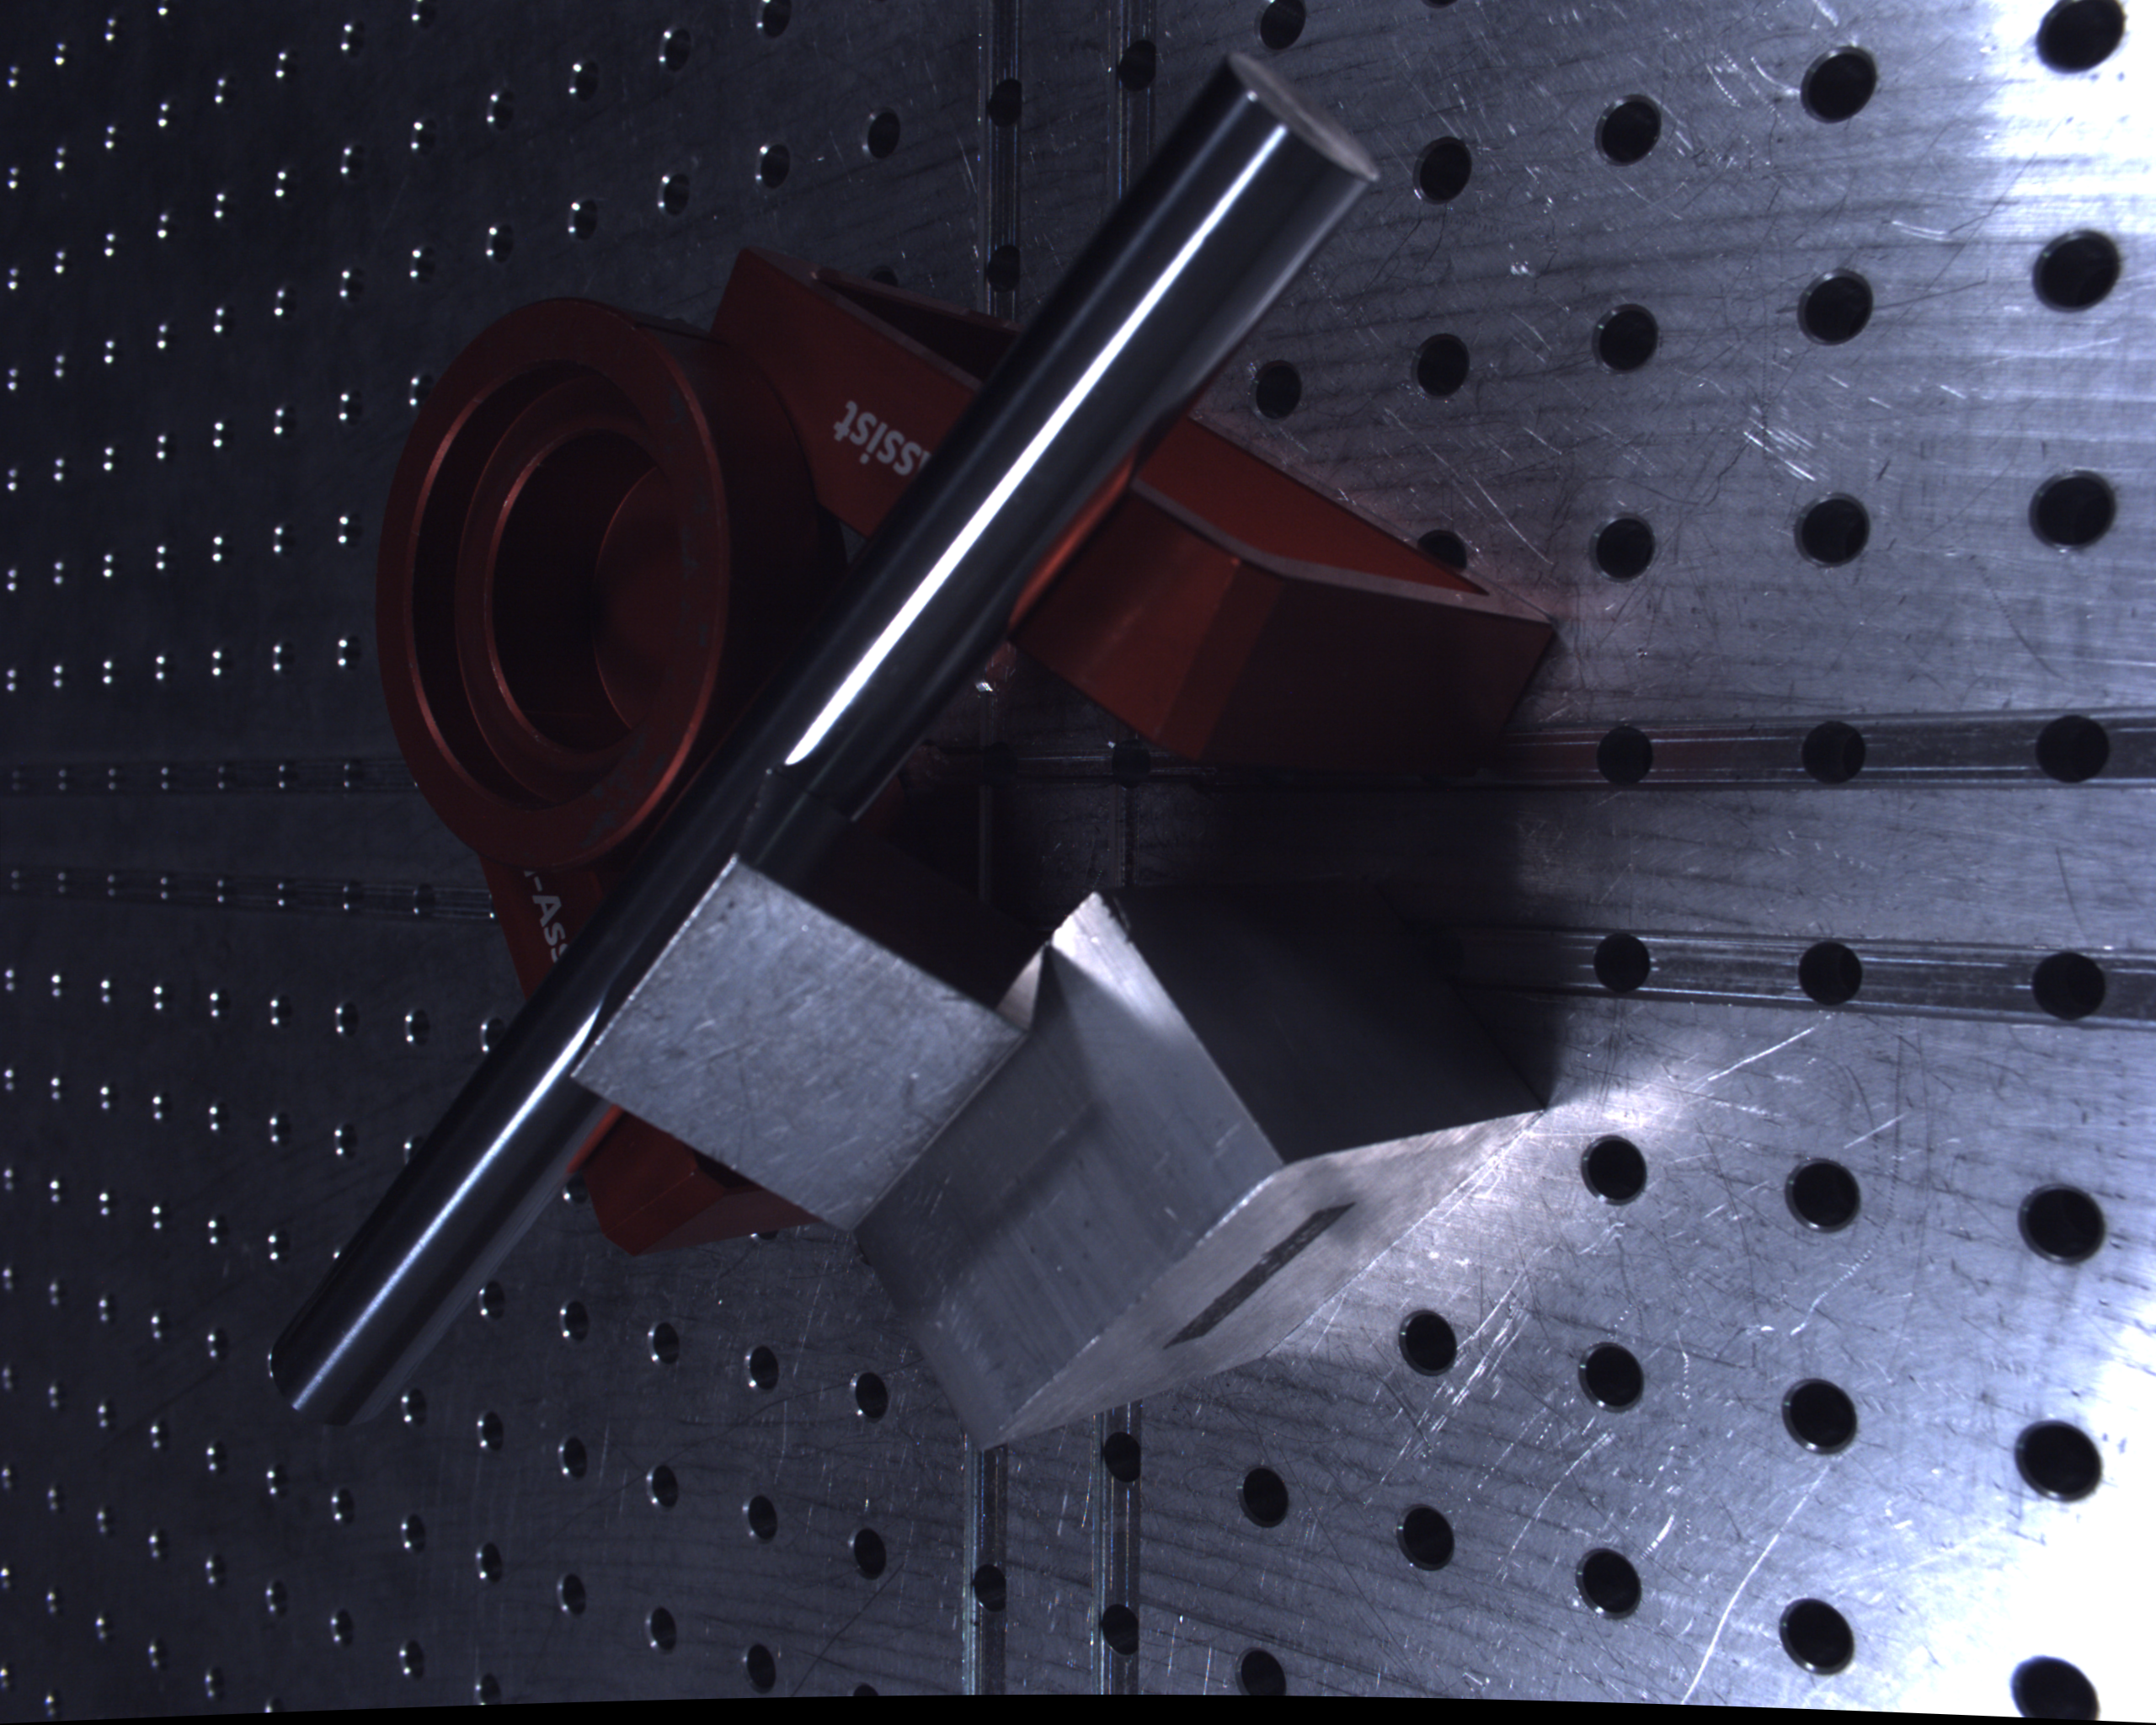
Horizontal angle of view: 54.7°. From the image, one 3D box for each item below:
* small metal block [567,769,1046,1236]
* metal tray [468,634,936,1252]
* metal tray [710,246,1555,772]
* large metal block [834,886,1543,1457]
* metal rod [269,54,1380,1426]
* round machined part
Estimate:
[{"bbox_3d":[-0.041,0.022,0.318,0.050,0.050,0.025,-50,16,28],"label":"small metal block"},{"bbox_3d":[-0.070,0.007,0.422,0.030,0.091,0.130,-36,68,34],"label":"metal tray"},{"bbox_3d":[0.006,-0.061,0.359,0.130,0.091,0.030,38,114,33],"label":"metal tray"},{"bbox_3d":[0.017,0.049,0.353,0.080,0.081,0.050,-49,62,29],"label":"large metal block"},{"bbox_3d":[-0.059,0.002,0.338,0.299,0.025,0.025,-48,62,29],"label":"metal rod"},{"bbox_3d":[-0.079,-0.048,0.371,0.098,0.042,0.097,0,90,39],"label":"round machined part"}]
